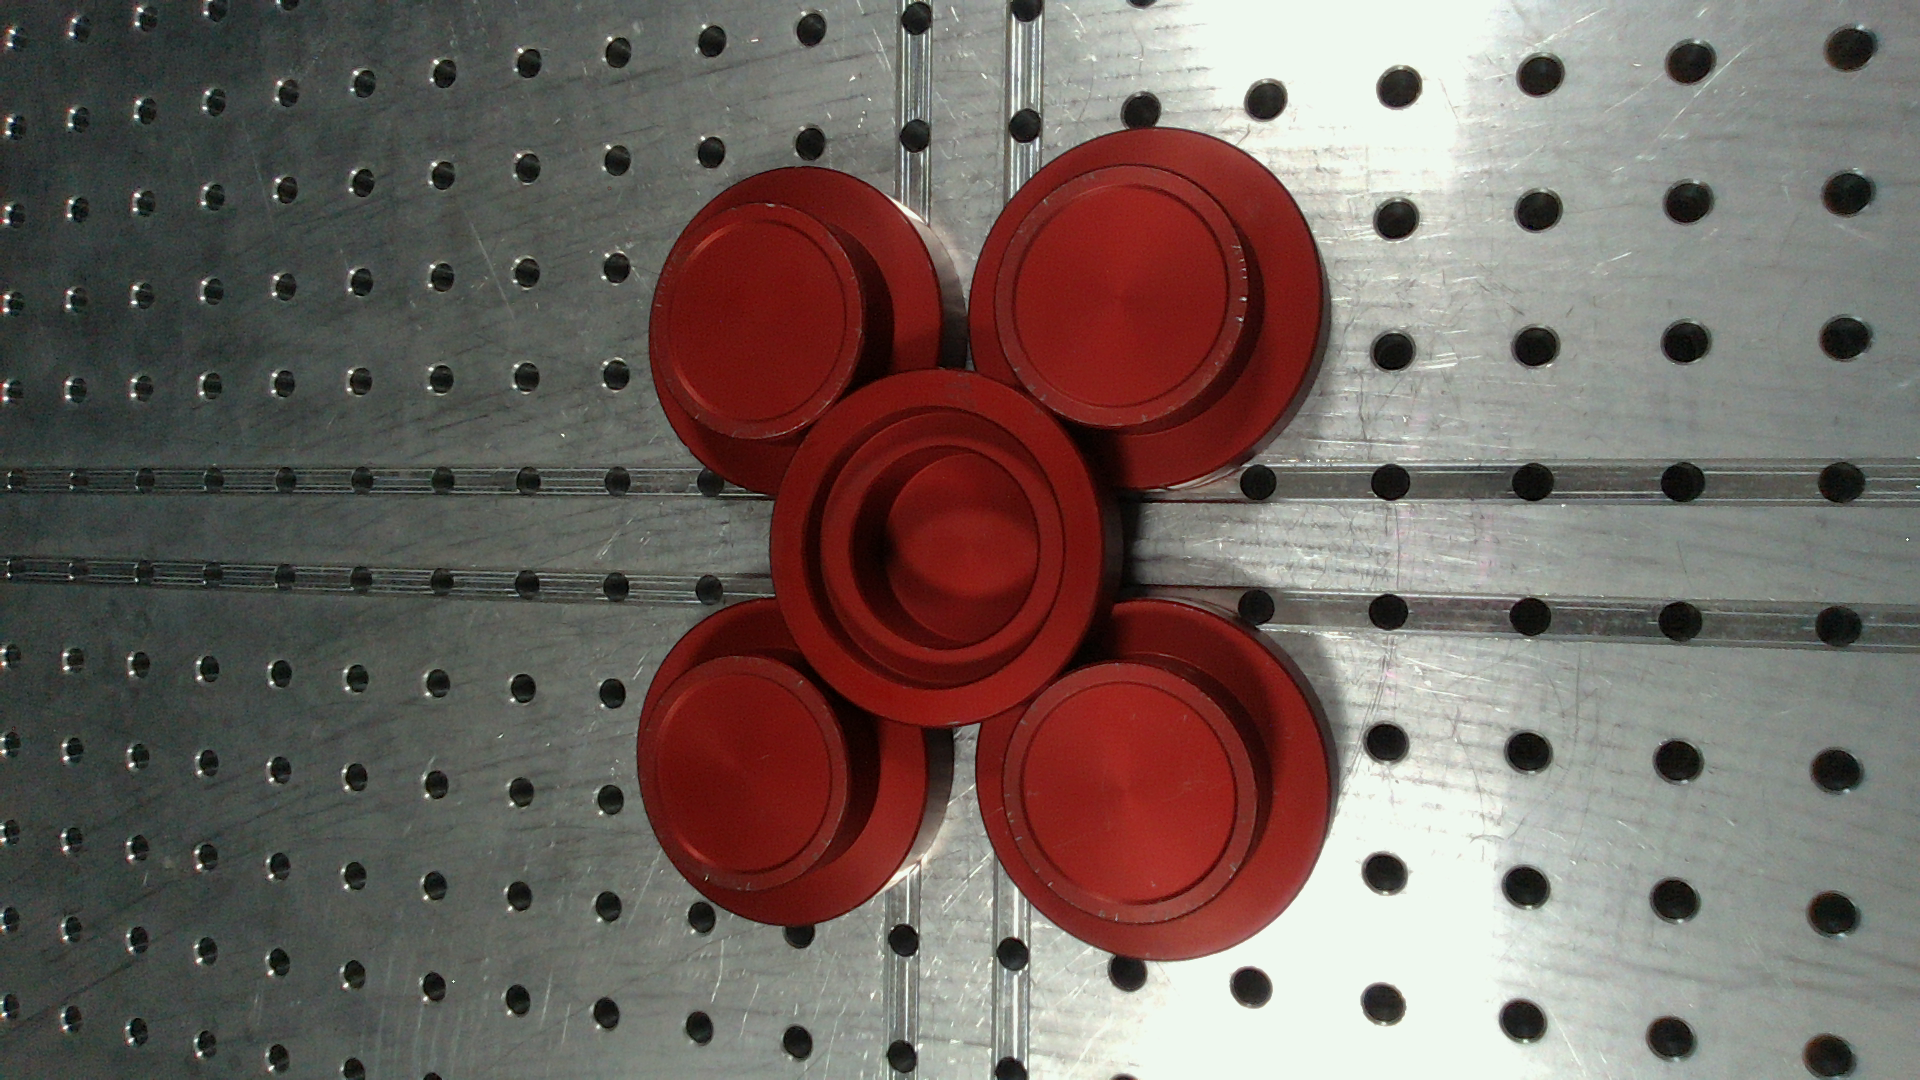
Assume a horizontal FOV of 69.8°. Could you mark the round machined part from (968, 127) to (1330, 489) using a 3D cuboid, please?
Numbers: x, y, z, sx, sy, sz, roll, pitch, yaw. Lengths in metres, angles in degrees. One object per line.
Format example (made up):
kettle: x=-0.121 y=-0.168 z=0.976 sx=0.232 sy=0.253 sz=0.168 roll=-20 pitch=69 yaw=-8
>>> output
round machined part: x=0.048 y=-0.063 z=0.371 sx=0.098 sy=0.042 sz=0.098 roll=0 pitch=90 yaw=20

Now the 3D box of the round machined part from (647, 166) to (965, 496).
round machined part: x=-0.051 y=-0.062 z=0.407 sx=0.098 sy=0.042 sz=0.098 roll=0 pitch=90 yaw=20

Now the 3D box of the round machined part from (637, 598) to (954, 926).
round machined part: x=-0.055 y=0.066 z=0.410 sx=0.098 sy=0.042 sz=0.098 roll=0 pitch=90 yaw=20

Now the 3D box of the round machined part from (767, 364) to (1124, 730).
round machined part: x=-0.001 y=0.002 z=0.388 sx=0.098 sy=0.042 sz=0.098 roll=0 pitch=90 yaw=20

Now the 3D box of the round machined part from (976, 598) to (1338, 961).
round machined part: x=0.050 y=0.065 z=0.371 sx=0.098 sy=0.042 sz=0.098 roll=0 pitch=90 yaw=20
